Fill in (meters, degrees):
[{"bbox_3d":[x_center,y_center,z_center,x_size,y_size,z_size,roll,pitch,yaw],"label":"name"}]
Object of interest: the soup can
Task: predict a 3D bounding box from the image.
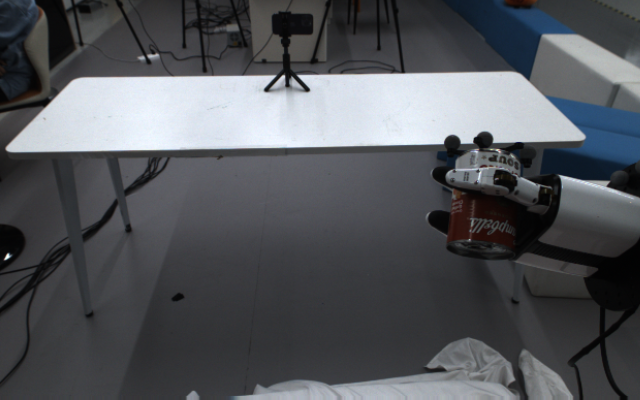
[{"bbox_3d":[0.174,0.005,0.505,0.067,0.067,0.101,8,72,9],"label":"soup can"}]
